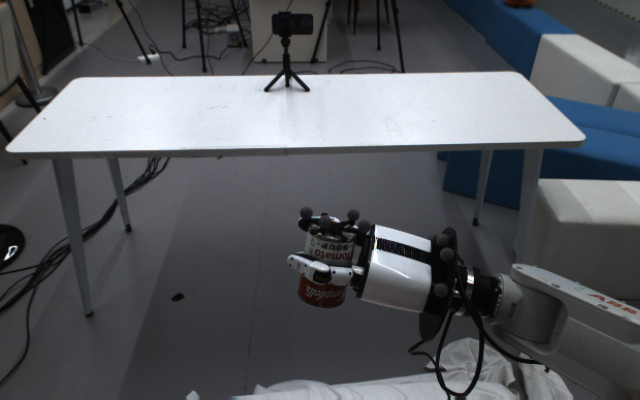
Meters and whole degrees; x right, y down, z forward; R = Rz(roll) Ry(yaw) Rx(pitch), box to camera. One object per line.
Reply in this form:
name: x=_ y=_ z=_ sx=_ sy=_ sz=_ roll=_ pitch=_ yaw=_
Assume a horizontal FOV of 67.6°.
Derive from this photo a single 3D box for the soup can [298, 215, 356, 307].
soup can: x=0.011 y=0.087 z=0.666 sx=0.067 sy=0.101 sz=0.067 roll=8 pitch=19 yaw=-3
